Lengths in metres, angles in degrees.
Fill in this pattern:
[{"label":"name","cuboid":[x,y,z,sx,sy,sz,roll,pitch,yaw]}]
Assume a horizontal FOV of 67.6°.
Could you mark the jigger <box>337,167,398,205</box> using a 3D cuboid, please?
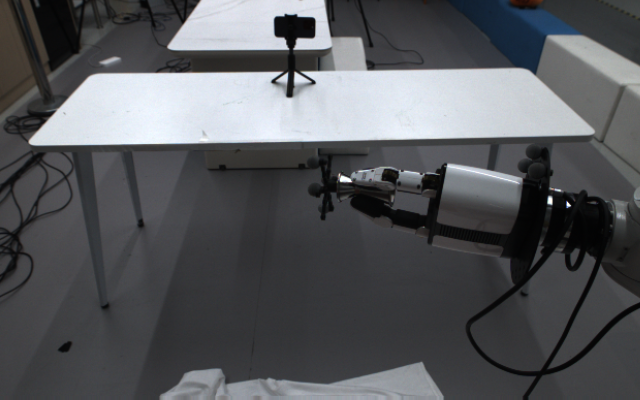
[{"label":"jigger","cuboid":[0.065,-0.019,0.609,0.071,0.043,0.043,2,34,15]}]
